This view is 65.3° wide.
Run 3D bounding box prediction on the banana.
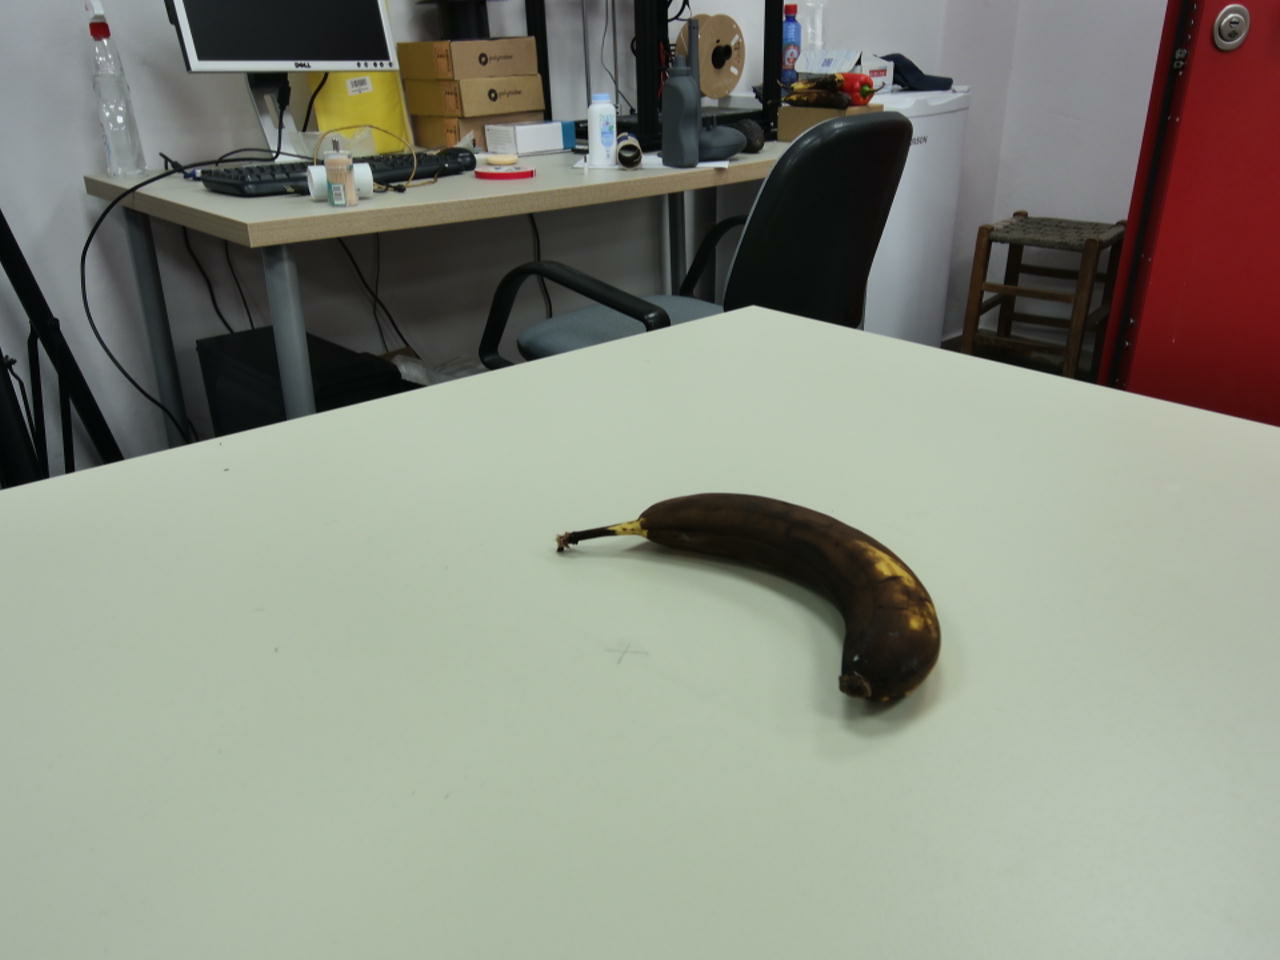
[{"bbox_3d":[0.056,0.036,0.433,0.091,0.034,0.188,-16,27,-34],"label":"banana"}]
